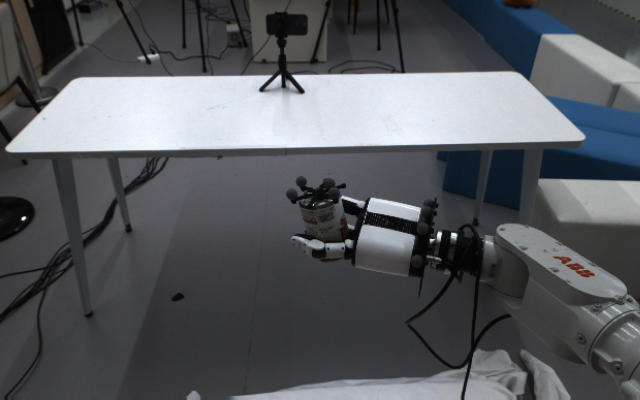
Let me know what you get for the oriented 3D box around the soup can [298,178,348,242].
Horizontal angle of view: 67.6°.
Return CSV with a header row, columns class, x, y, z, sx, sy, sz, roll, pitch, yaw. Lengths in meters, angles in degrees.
class,x,y,z,sx,sy,sz,roll,pitch,yaw
soup can,0.011,0.037,0.764,0.067,0.101,0.067,-11,27,6
